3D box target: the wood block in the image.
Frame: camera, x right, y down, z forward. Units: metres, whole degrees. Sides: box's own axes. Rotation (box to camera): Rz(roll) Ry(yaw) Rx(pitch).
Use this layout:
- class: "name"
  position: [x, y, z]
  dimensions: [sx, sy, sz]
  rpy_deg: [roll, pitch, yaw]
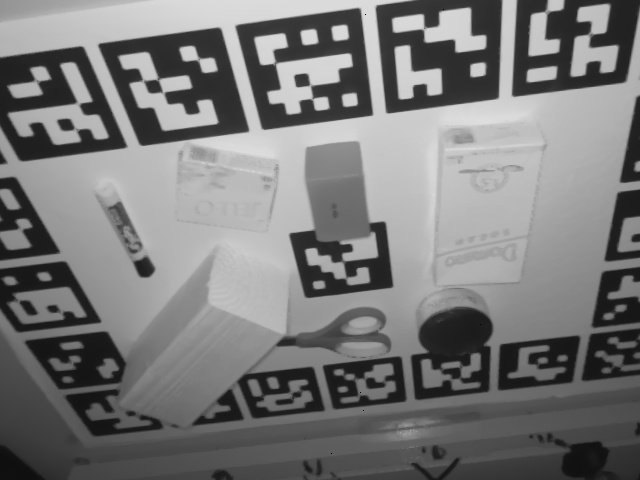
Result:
- class: "wood block"
  position: [-0.127, 0.101, 0.759]
  dimensions: [0.090, 0.091, 0.203]
  rpy_deg: [30, 123, -24]

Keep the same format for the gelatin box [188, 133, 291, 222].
- class: "gelatin box"
  position: [-0.078, -0.058, 0.669]
  dimensions: [0.090, 0.030, 0.072]
  rpy_deg: [8, 127, -9]

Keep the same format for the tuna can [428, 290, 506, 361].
- class: "tuna can"
  position: [0.168, 0.098, 0.799]
  dimensions: [0.086, 0.034, 0.085]
  rpy_deg: [-2, 128, -1]

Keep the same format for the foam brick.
- class: "foam brick"
  position: [0.026, -0.053, 0.659]
  dimensions: [0.053, 0.052, 0.077]
  rpy_deg: [-5, 128, 2]

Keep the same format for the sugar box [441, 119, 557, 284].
- class: "sugar box"
  position: [0.173, -0.033, 0.692]
  dimensions: [0.093, 0.045, 0.175]
  rpy_deg: [-2, 129, 1]

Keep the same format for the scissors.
- class: "scissors"
  position: [-0.004, 0.115, 0.820]
  dimensions: [0.203, 0.016, 0.087]
  rpy_deg: [-2, 128, -4]

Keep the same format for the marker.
- class: "marker"
  position: [-0.182, -0.018, 0.701]
  dimensions: [0.019, 0.020, 0.120]
  rpy_deg: [-5, 126, 3]
